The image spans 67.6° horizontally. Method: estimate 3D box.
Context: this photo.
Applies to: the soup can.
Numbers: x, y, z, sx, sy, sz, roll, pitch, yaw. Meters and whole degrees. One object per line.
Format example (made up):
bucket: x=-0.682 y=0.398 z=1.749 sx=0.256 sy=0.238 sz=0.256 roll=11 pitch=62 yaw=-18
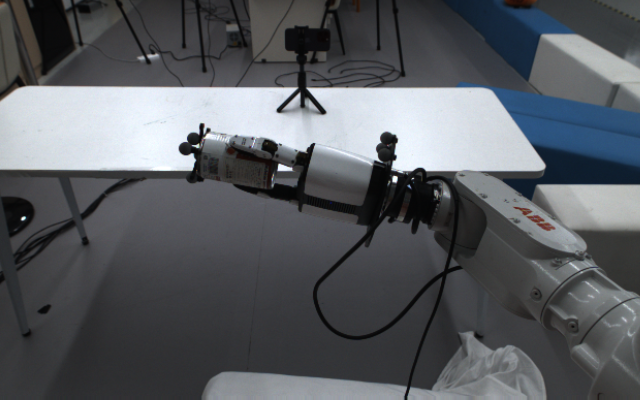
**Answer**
soup can: x=-0.109 y=-0.053 z=0.671 sx=0.101 sy=0.067 sz=0.067 roll=10 pitch=35 yaw=-1
